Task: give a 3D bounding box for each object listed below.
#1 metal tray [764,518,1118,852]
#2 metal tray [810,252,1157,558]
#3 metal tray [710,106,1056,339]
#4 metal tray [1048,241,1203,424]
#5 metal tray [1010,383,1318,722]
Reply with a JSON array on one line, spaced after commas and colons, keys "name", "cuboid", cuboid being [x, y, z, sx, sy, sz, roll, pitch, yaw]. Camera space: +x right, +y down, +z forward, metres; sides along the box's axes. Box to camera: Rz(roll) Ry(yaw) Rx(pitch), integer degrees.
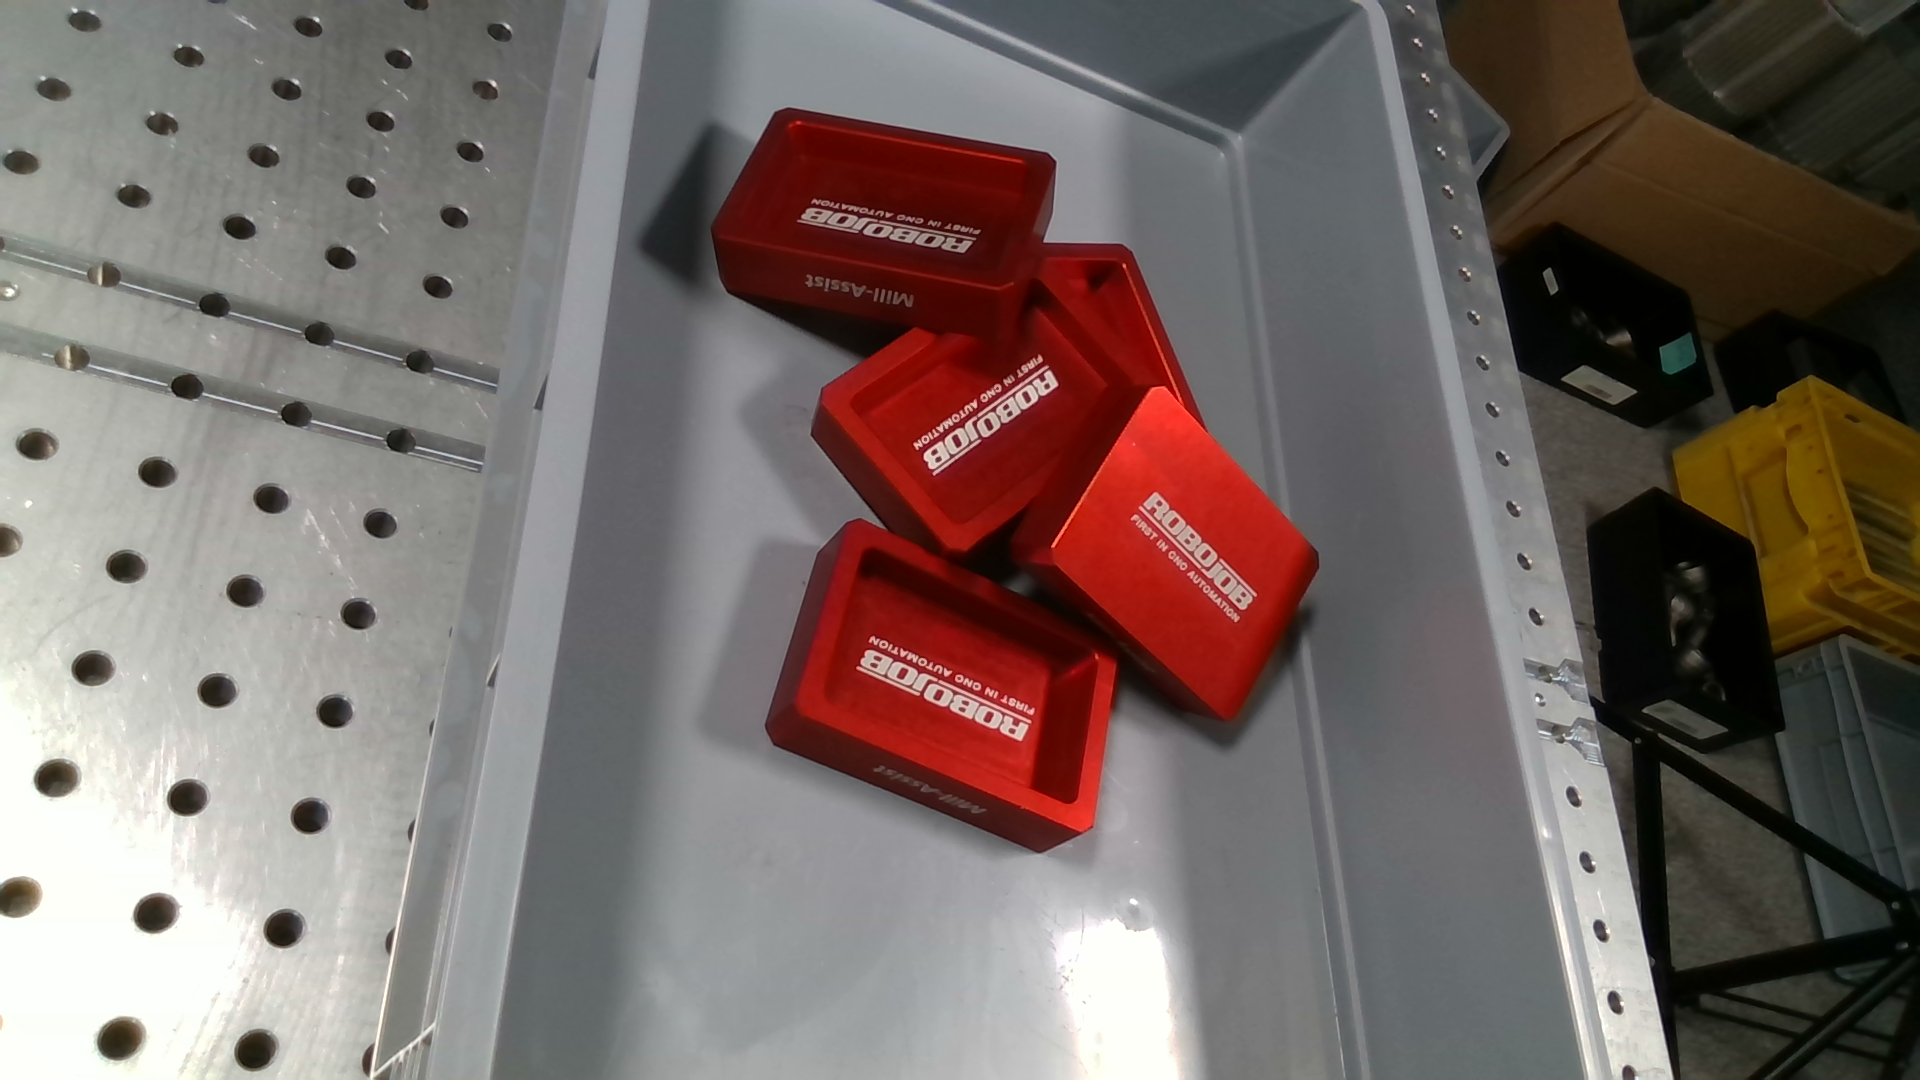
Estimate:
[{"name": "metal tray", "cuboid": [-0.004, 0.058, 0.548, 0.130, 0.030, 0.090, 25, 55, -18]}, {"name": "metal tray", "cuboid": [0.013, -0.057, 0.592, 0.130, 0.030, 0.090, -38, 81, -25]}, {"name": "metal tray", "cuboid": [-0.031, -0.140, 0.599, 0.130, 0.030, 0.090, 13, 54, 8]}, {"name": "metal tray", "cuboid": [0.062, -0.081, 0.663, 0.090, 0.030, 0.130, -7, 69, -34]}, {"name": "metal tray", "cuboid": [0.091, 0.006, 0.589, 0.130, 0.030, 0.090, 42, 72, -30]}]
